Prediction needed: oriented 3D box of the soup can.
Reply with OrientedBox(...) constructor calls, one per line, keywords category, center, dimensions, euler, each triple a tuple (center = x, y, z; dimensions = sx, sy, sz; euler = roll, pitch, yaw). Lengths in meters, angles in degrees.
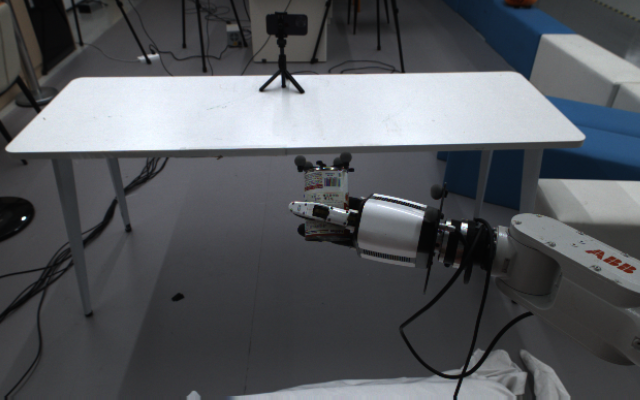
OrientedBox(category="soup can", center=(0.011, 0.008, 0.711), dimensions=(0.067, 0.101, 0.067), euler=(-1, -9, 0))
